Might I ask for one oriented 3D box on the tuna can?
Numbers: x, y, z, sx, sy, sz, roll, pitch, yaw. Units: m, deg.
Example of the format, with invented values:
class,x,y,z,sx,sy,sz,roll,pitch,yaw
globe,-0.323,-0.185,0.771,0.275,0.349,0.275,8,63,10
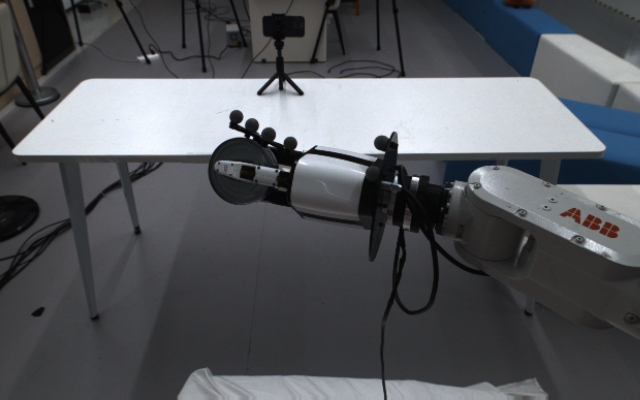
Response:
class,x,y,z,sx,sy,sz,roll,pitch,yaw
tuna can,-0.096,-0.037,0.625,0.085,0.085,0.034,10,4,11
